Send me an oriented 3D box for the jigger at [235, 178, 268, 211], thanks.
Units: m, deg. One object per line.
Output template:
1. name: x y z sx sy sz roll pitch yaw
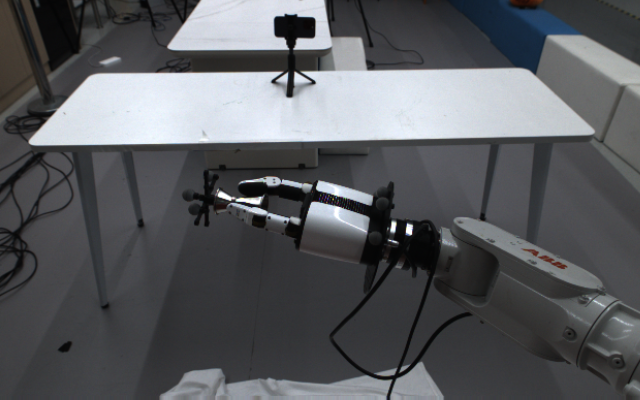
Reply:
1. jigger: -0.103 0.002 0.684 0.071 0.043 0.043 8 35 6
